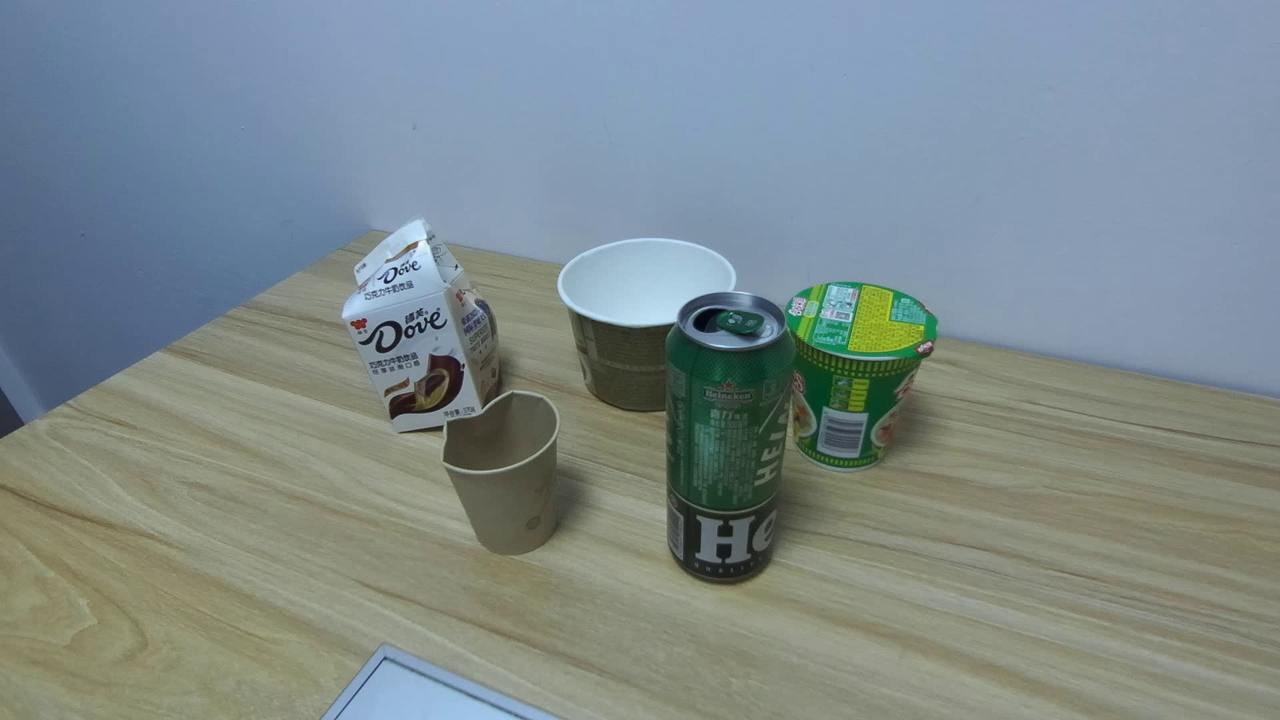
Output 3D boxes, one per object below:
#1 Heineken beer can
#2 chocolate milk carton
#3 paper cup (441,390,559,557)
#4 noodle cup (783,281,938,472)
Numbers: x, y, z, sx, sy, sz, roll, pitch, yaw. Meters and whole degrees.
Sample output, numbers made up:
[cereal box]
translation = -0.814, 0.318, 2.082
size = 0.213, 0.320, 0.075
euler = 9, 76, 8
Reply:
[Heineken beer can]
translation = 0.049, 0.049, 0.398
size = 0.067, 0.169, 0.067
euler = -1, 34, 1
[chocolate milk carton]
translation = -0.165, -0.025, 0.540
size = 0.089, 0.156, 0.076
euler = -15, 31, 4
[paper cup]
translation = -0.081, 0.075, 0.444
size = 0.069, 0.081, 0.073
euler = -5, 34, -6
[noodle cup]
translation = 0.147, 0.017, 0.494
size = 0.097, 0.110, 0.097
euler = -1, 34, 1
